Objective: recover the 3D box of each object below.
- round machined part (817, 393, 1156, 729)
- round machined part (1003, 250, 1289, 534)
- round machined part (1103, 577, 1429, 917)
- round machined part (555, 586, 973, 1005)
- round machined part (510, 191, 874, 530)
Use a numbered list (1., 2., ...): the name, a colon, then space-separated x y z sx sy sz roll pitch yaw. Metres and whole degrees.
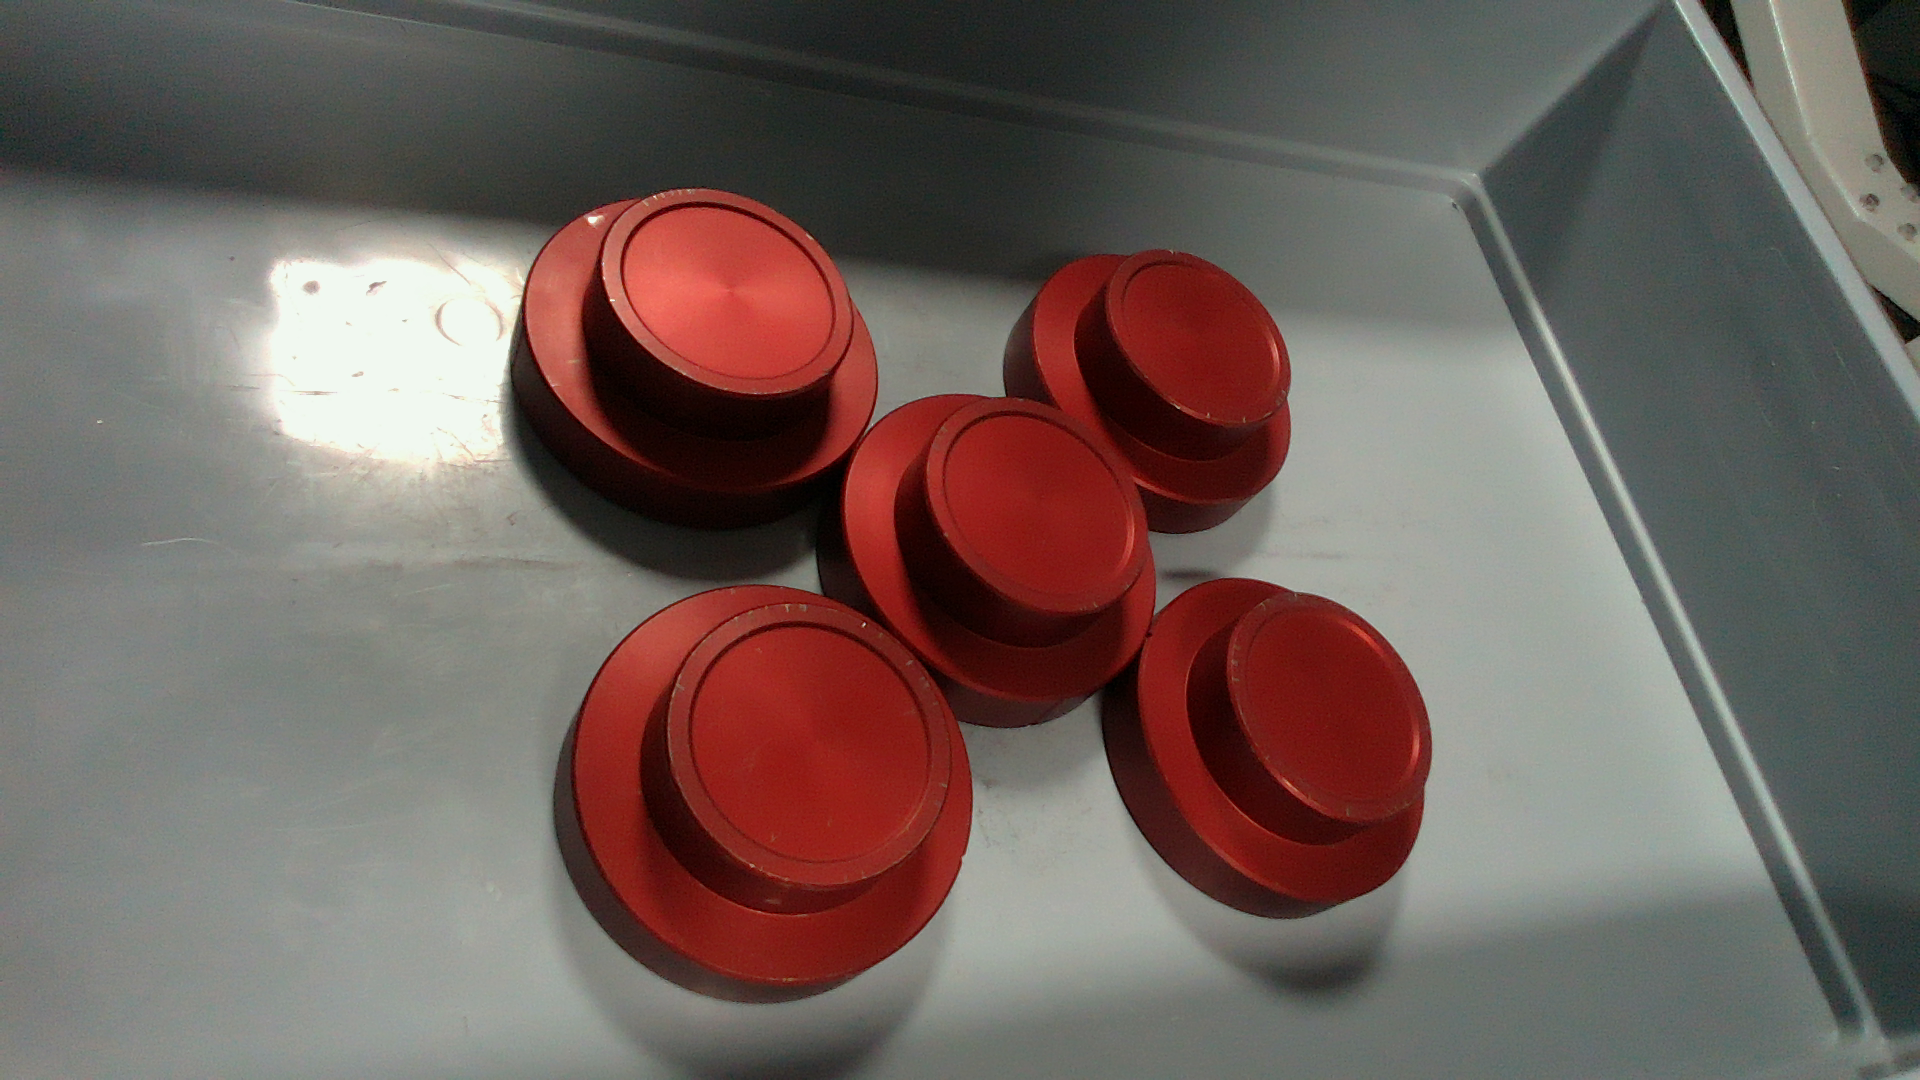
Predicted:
1. round machined part: 0.013 -0.001 0.384 0.098 0.042 0.098 14 56 -21
2. round machined part: 0.067 -0.054 0.447 0.098 0.042 0.098 14 56 -21
3. round machined part: 0.094 0.054 0.395 0.098 0.042 0.098 14 56 -21
4. round machined part: -0.041 0.054 0.322 0.098 0.042 0.098 14 56 -21
5. round machined part: -0.069 -0.055 0.375 0.098 0.042 0.098 14 56 -21
